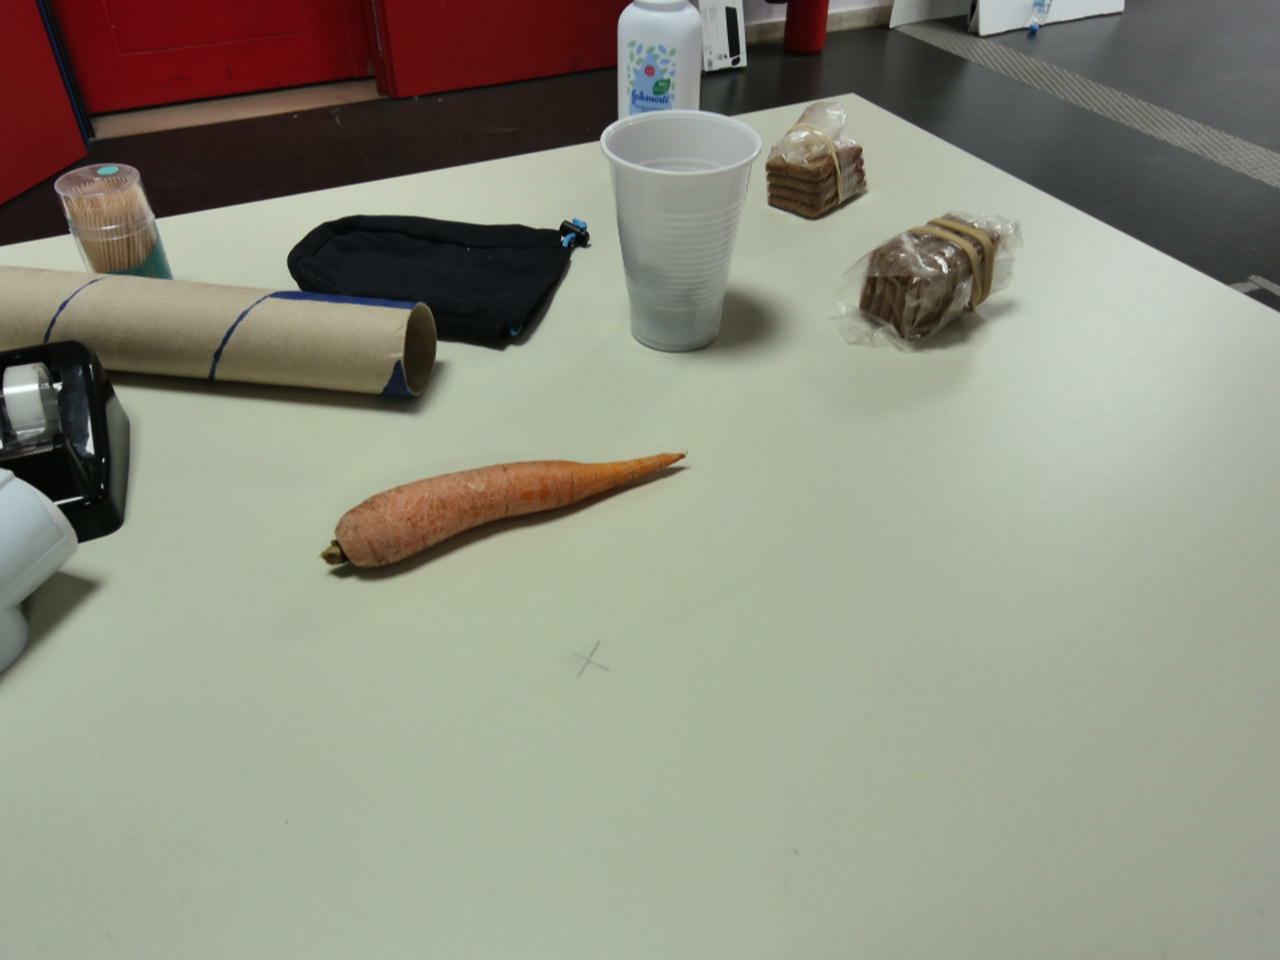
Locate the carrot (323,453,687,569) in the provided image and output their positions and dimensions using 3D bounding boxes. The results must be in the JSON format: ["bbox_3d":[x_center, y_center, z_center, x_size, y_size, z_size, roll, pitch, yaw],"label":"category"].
[{"bbox_3d":[-0.056,0.005,0.434,0.163,0.029,0.031,-17,41,-21],"label":"carrot"}]
